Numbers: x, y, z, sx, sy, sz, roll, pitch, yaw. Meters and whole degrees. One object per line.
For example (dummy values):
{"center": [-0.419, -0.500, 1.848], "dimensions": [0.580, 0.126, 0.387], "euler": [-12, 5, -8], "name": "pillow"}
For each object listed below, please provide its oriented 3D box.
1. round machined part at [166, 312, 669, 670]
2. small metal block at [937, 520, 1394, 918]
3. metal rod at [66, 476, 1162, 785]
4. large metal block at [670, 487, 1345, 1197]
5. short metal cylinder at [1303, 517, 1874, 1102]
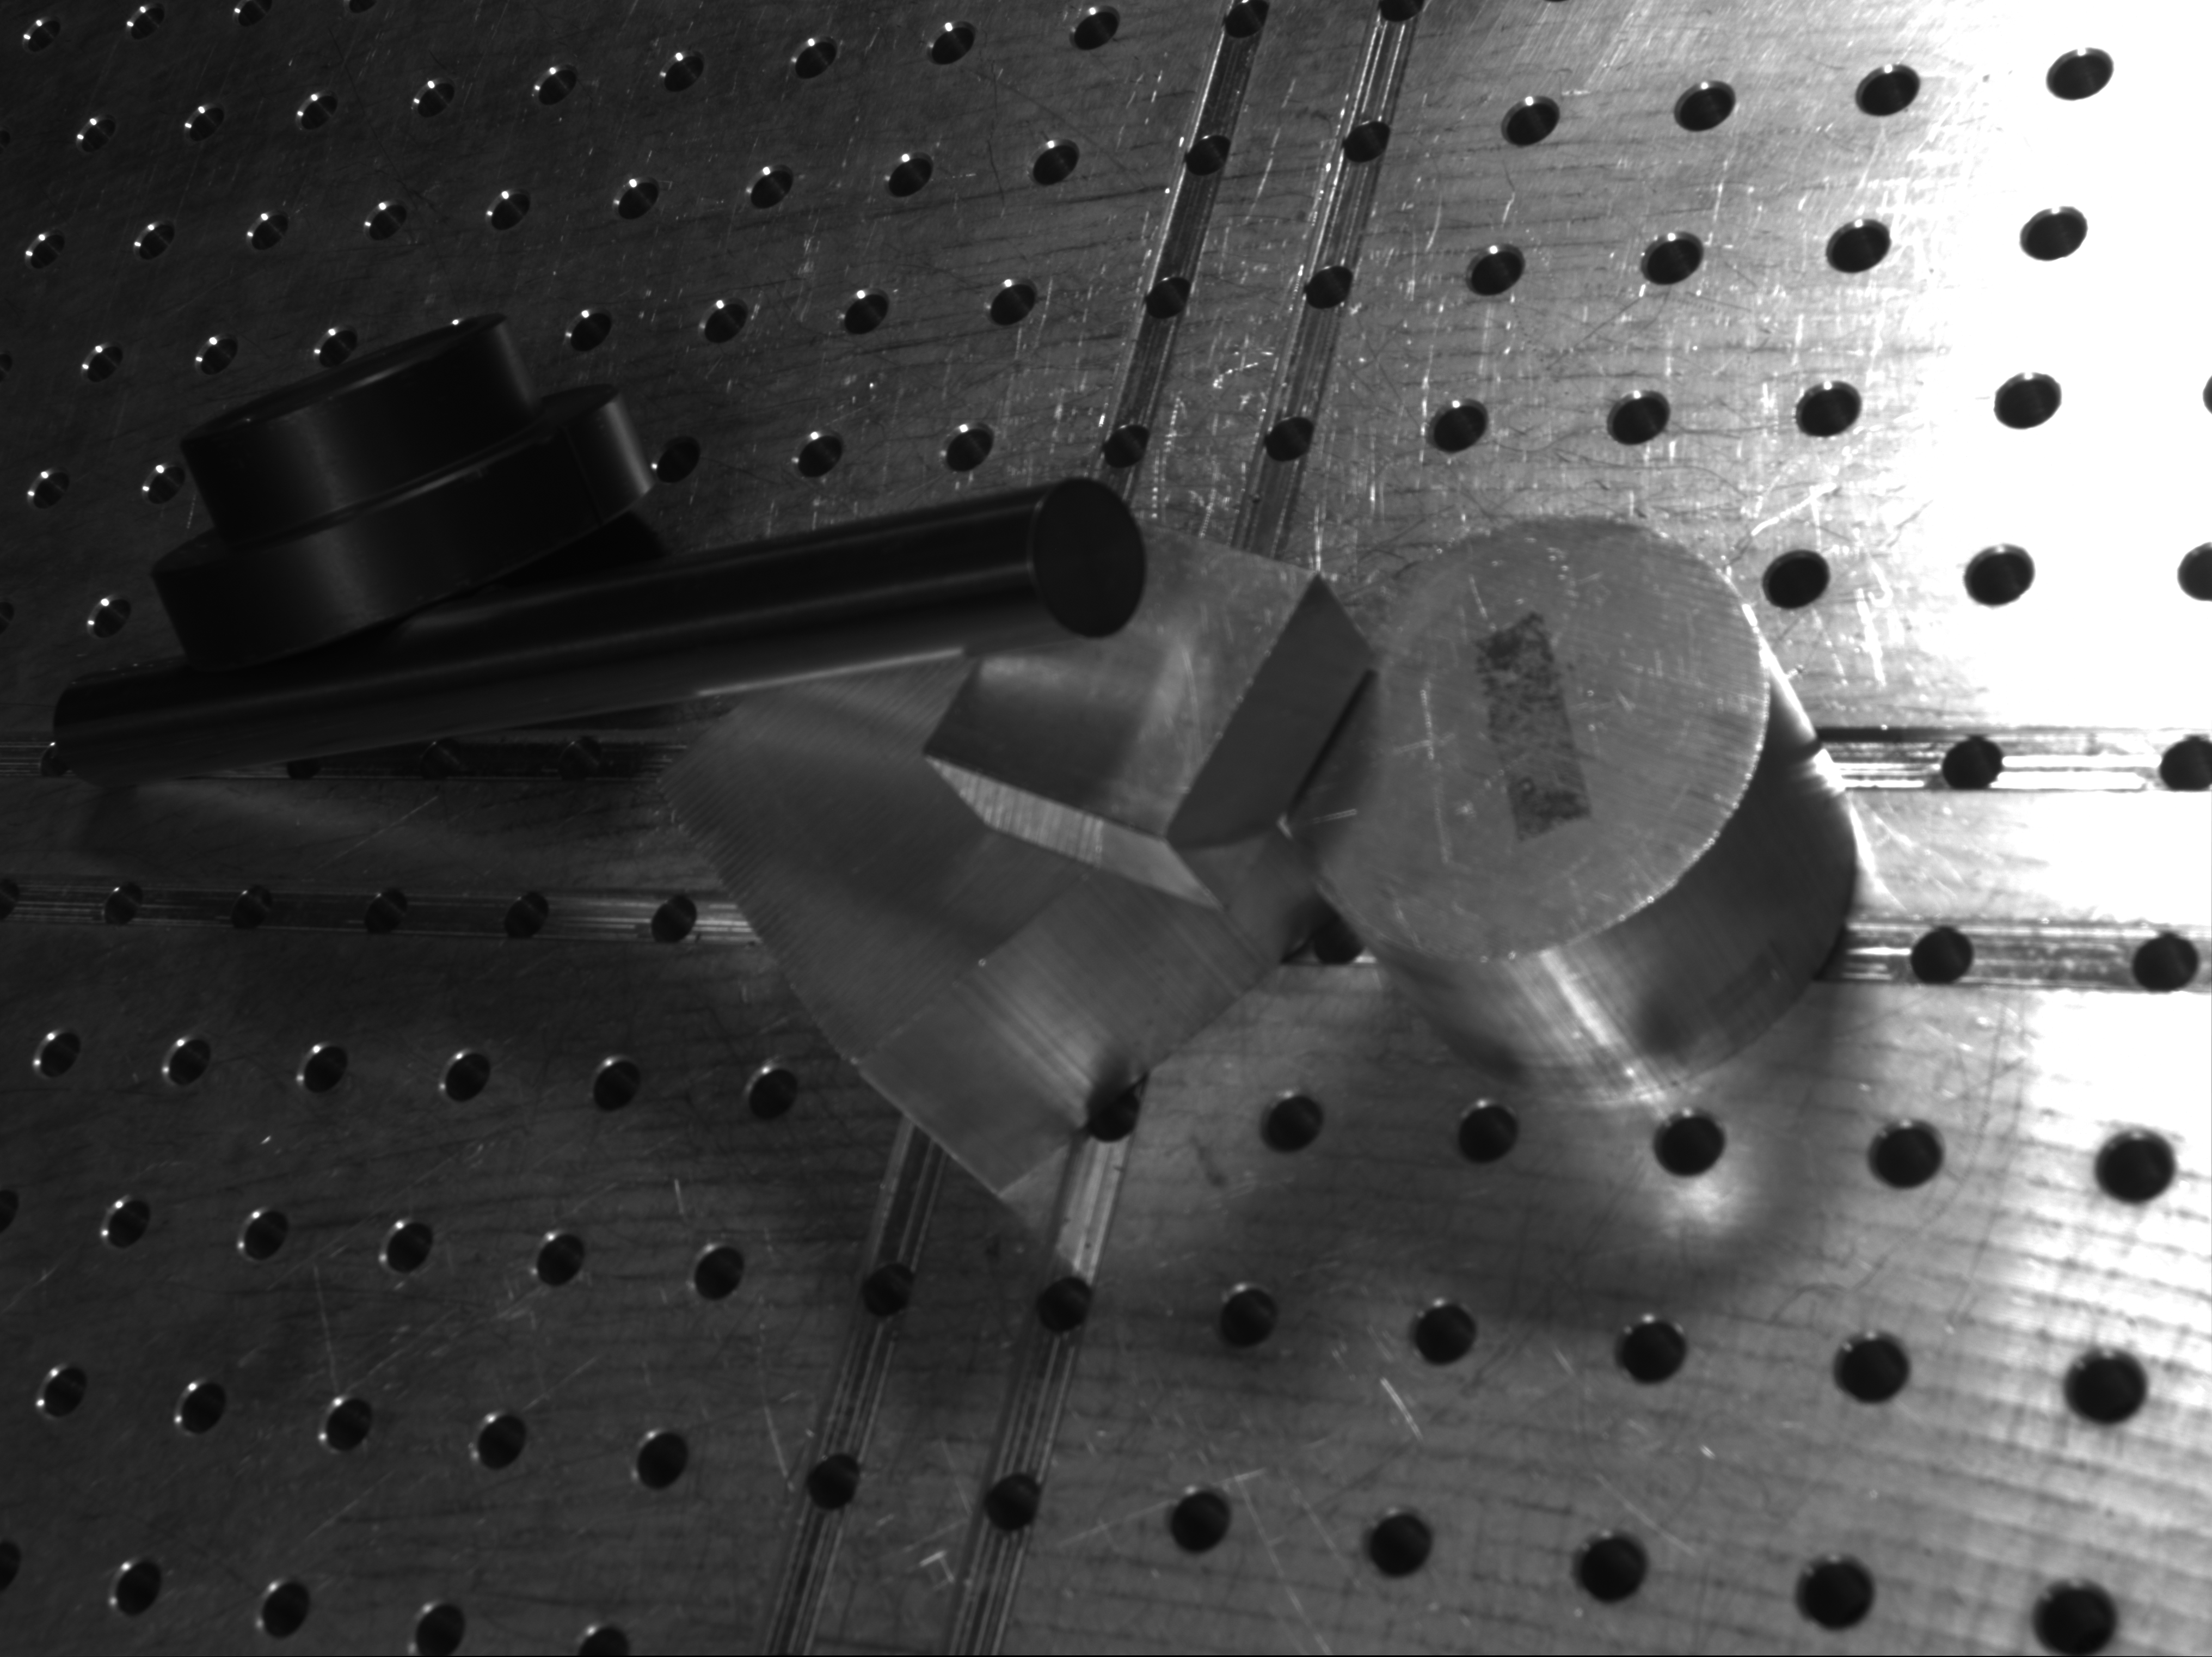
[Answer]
{"center": [-0.139, -0.070, 0.720], "dimensions": [0.098, 0.042, 0.098], "euler": [-20, 14, 5], "name": "round machined part"}
{"center": [0.010, -0.020, 0.587], "dimensions": [0.050, 0.025, 0.050], "euler": [20, 72, 36], "name": "small metal block"}
{"center": [-0.104, -0.032, 0.667], "dimensions": [0.299, 0.025, 0.025], "euler": [-5, 57, 46], "name": "metal rod"}
{"center": [-0.016, 0.002, 0.636], "dimensions": [0.080, 0.050, 0.080], "euler": [-39, 51, 1], "name": "large metal block"}
{"center": [0.078, -0.003, 0.591], "dimensions": [0.080, 0.050, 0.080], "euler": [-13, 56, 21], "name": "short metal cylinder"}
